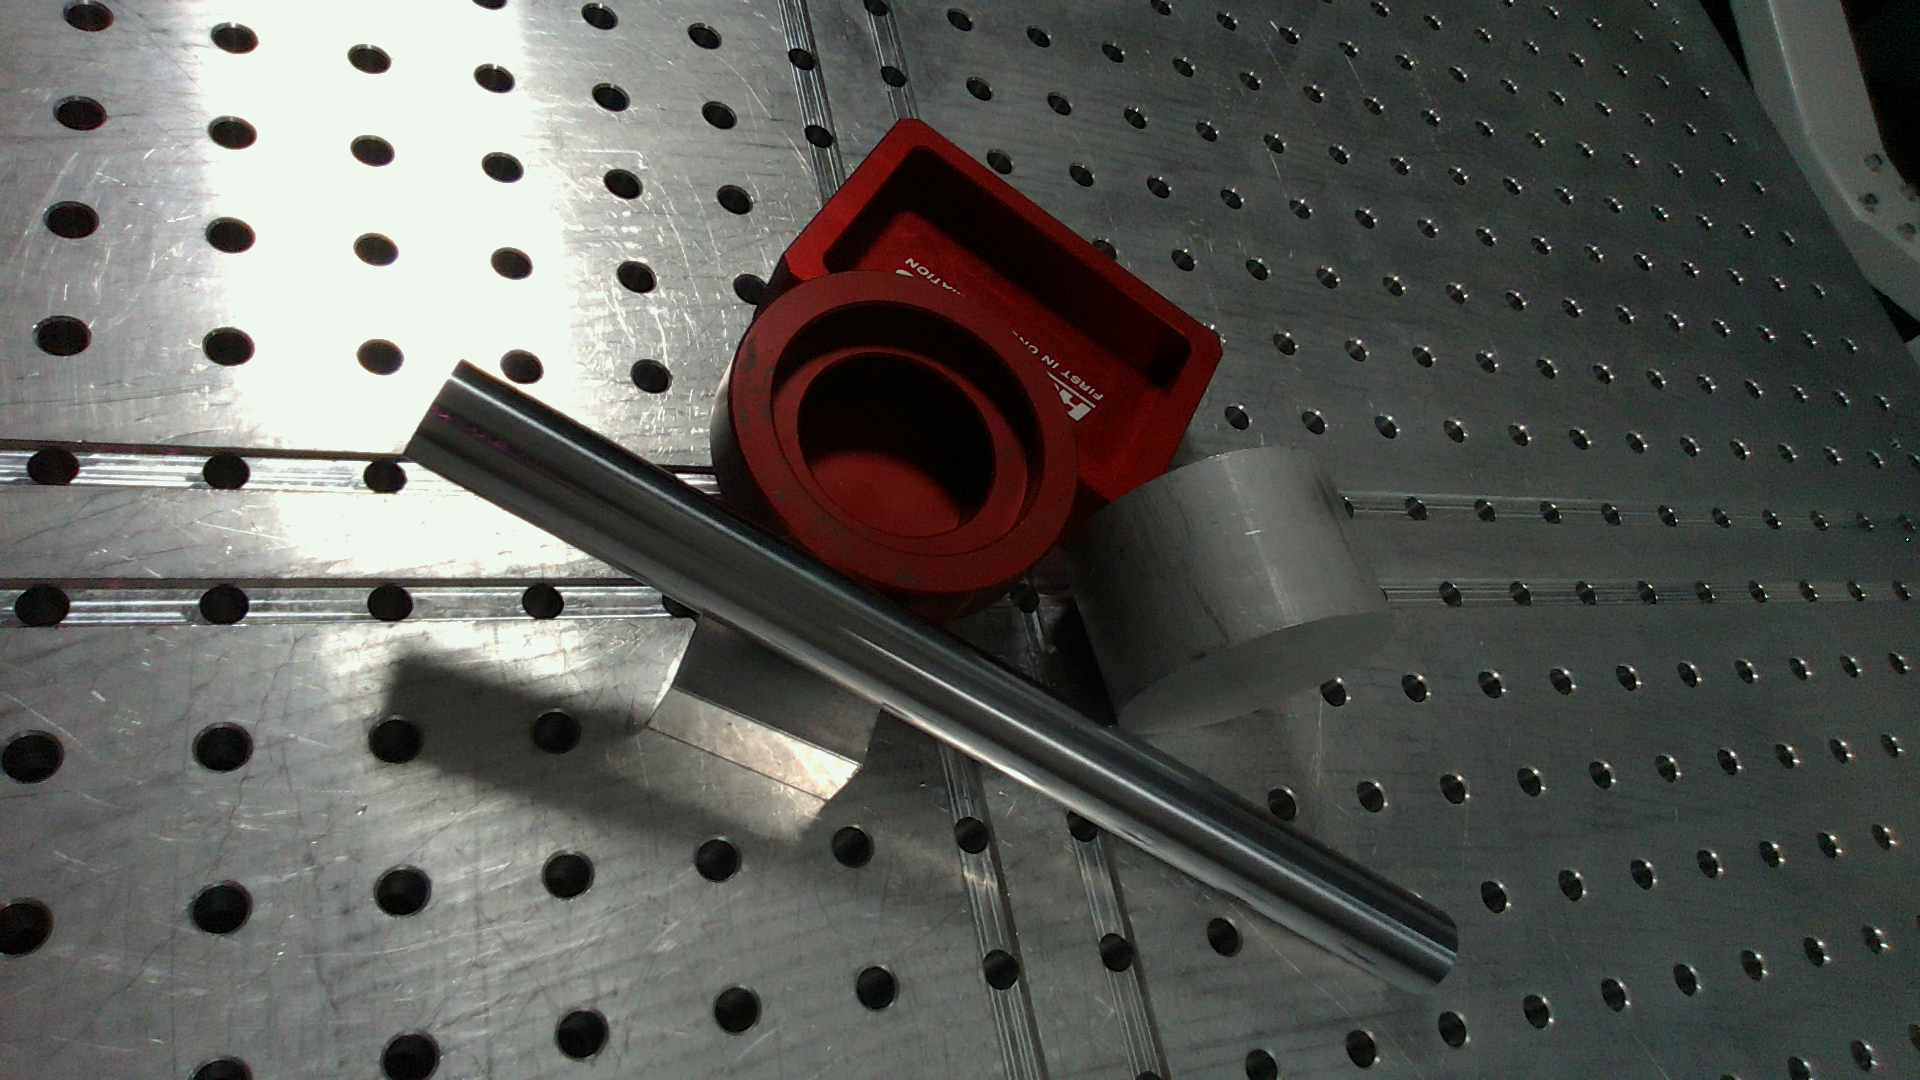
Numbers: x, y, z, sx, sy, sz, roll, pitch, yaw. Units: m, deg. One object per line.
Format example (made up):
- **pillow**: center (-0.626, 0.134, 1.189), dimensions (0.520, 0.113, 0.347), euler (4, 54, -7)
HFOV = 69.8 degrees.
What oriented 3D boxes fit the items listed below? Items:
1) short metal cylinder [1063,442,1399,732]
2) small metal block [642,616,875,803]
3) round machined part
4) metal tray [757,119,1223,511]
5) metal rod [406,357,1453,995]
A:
- **short metal cylinder**: center (0.075, 0.015, 0.387), dimensions (0.080, 0.080, 0.050), euler (-4, 63, -30)
- **small metal block**: center (-0.046, 0.031, 0.349), dimensions (0.050, 0.025, 0.050), euler (25, 53, -13)
- **round machined part**: center (-0.020, -0.022, 0.374), dimensions (0.098, 0.042, 0.098), euler (12, 57, -19)
- **metal tray**: center (0.012, -0.066, 0.435), dimensions (0.130, 0.030, 0.090), euler (34, 51, -5)
- **metal rod**: center (0.009, 0.045, 0.344), dimensions (0.301, 0.025, 0.025), euler (31, 51, -19)
